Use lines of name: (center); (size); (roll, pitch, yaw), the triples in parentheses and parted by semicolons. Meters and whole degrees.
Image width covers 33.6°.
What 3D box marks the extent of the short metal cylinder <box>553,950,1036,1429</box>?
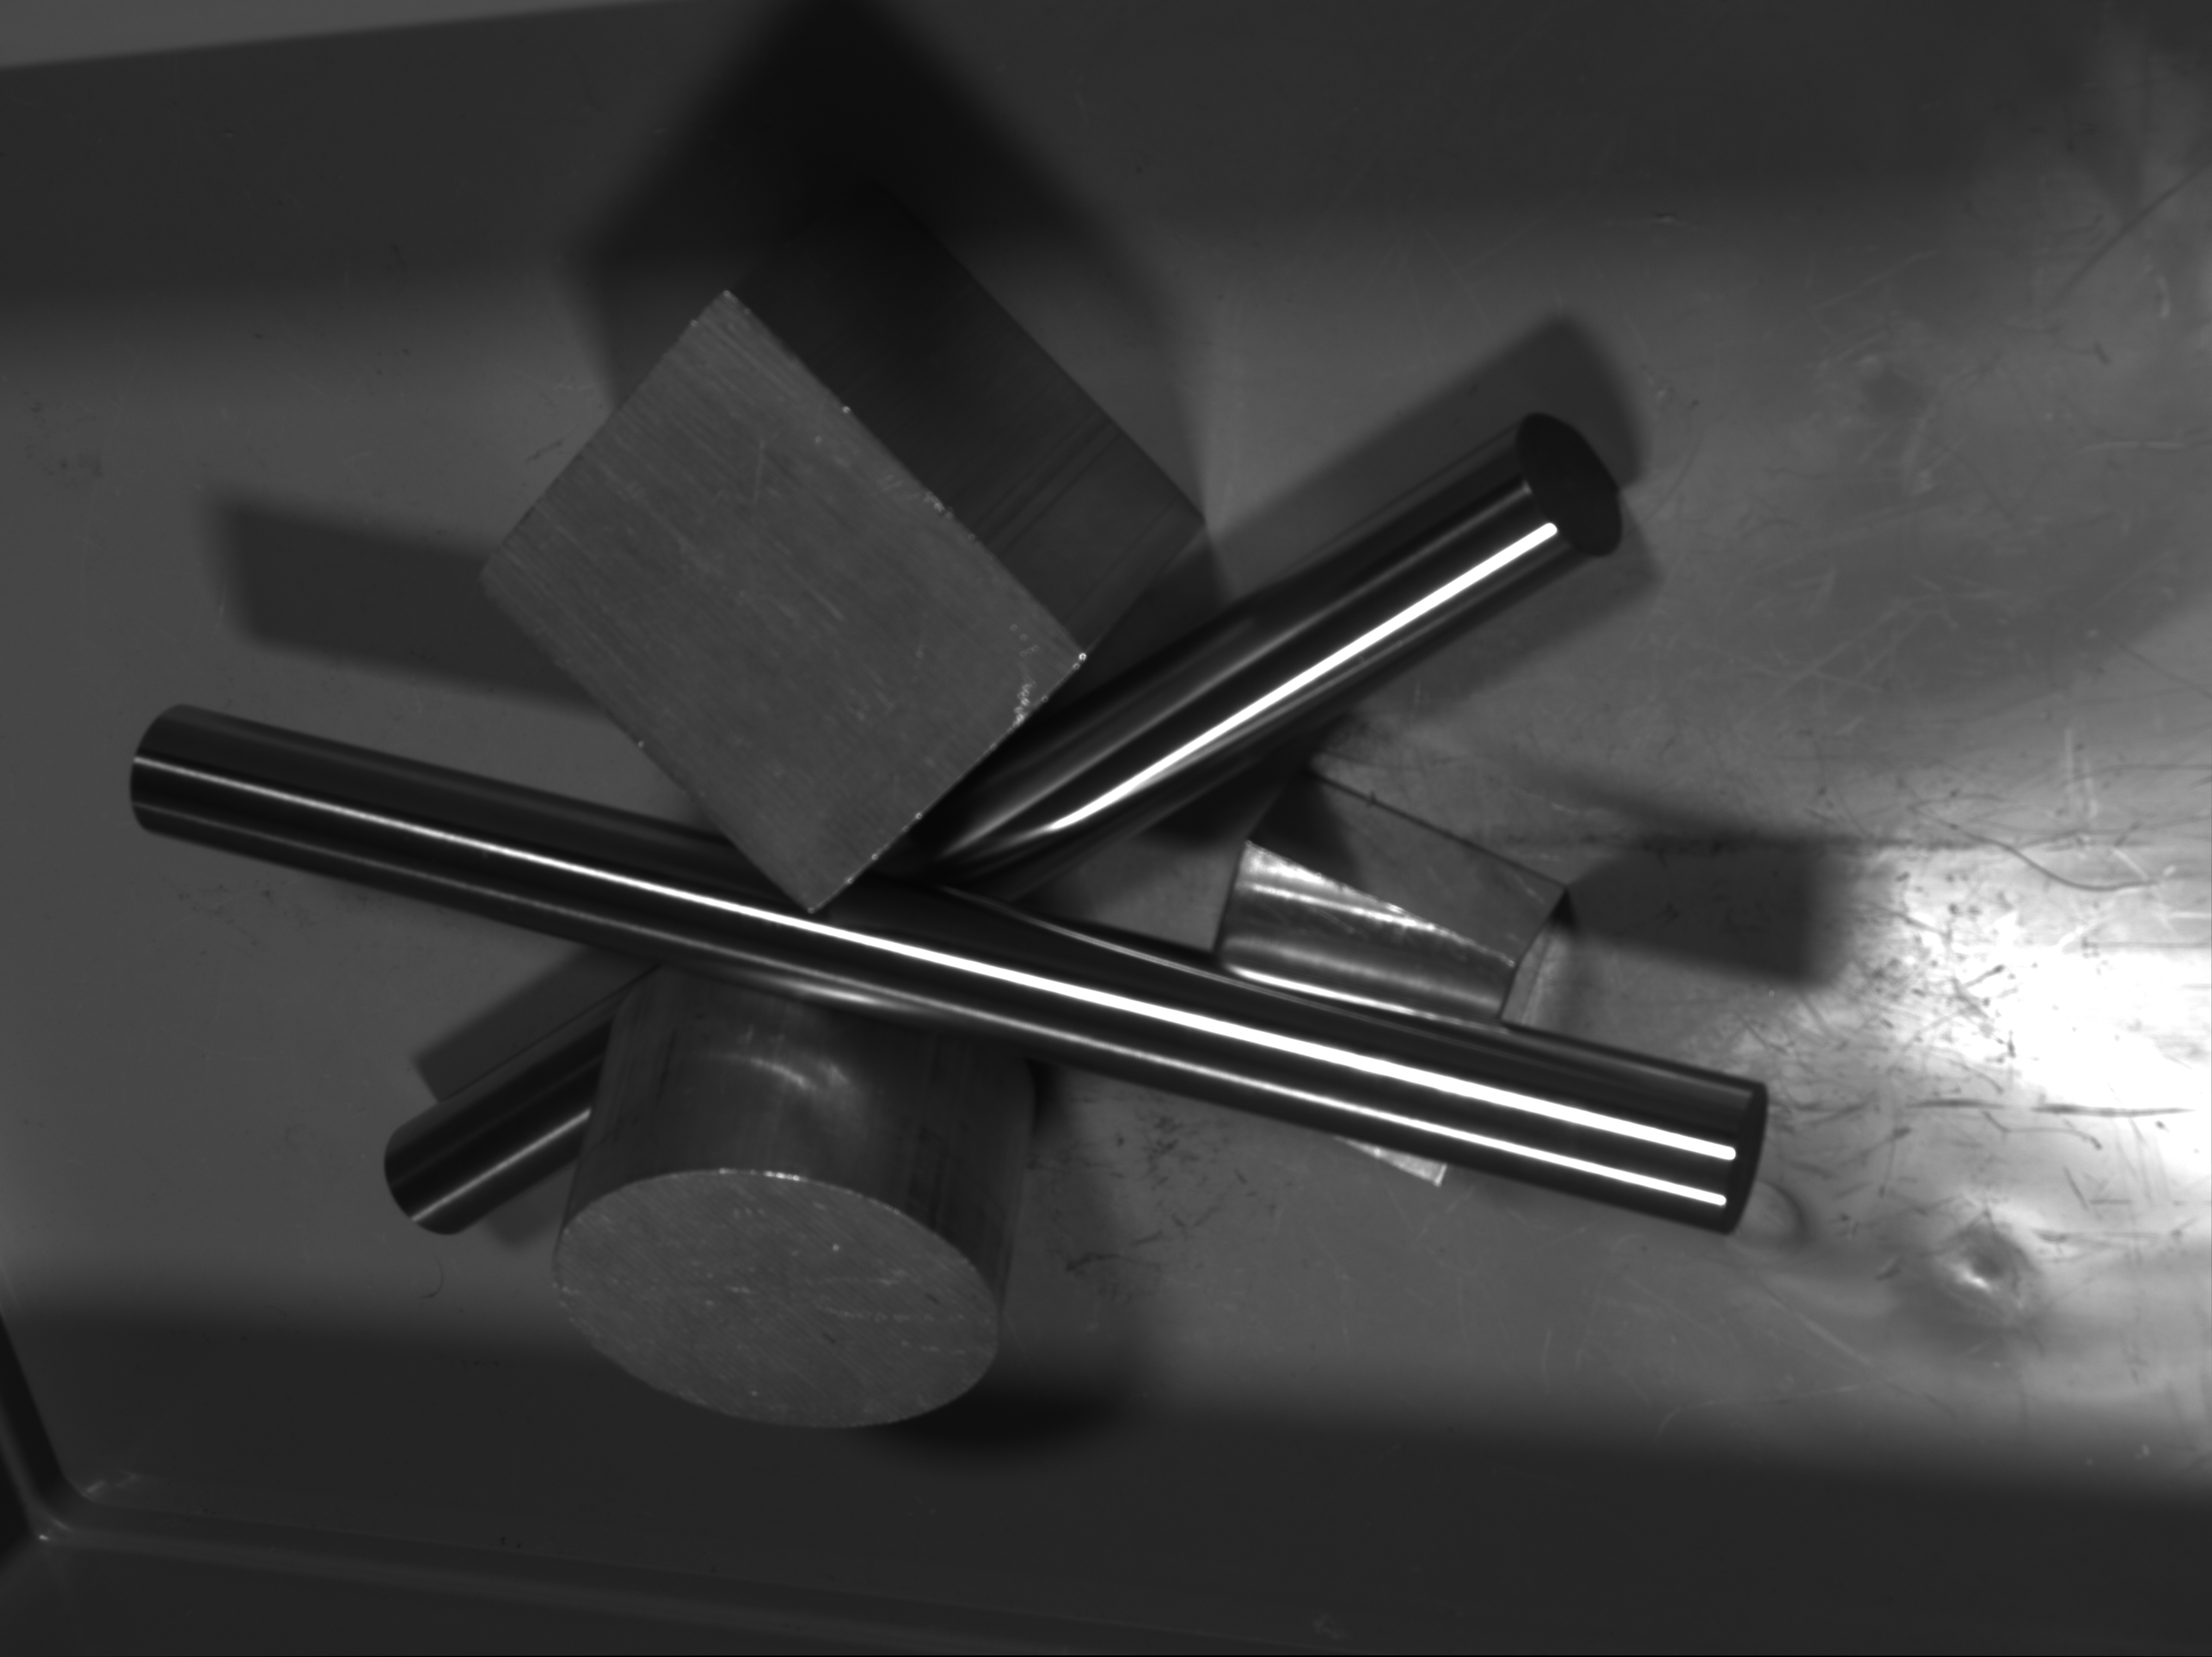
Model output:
short metal cylinder: (-0.055, 0.066, 0.663); (0.080, 0.050, 0.080); (5, 139, 4)

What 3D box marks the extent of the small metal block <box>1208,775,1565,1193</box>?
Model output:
small metal block: (0.044, 0.026, 0.621); (0.050, 0.025, 0.050); (24, 126, 12)

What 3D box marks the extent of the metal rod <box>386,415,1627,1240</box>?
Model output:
metal rod: (-0.032, 0.009, 0.651); (0.299, 0.025, 0.025); (-31, 102, 36)

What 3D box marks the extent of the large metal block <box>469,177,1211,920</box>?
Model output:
large metal block: (-0.044, -0.046, 0.608); (0.080, 0.050, 0.080); (46, 128, -5)

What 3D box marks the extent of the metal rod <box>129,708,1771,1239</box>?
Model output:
metal rod: (-0.036, 0.021, 0.628); (0.299, 0.025, 0.025); (13, 123, 20)
